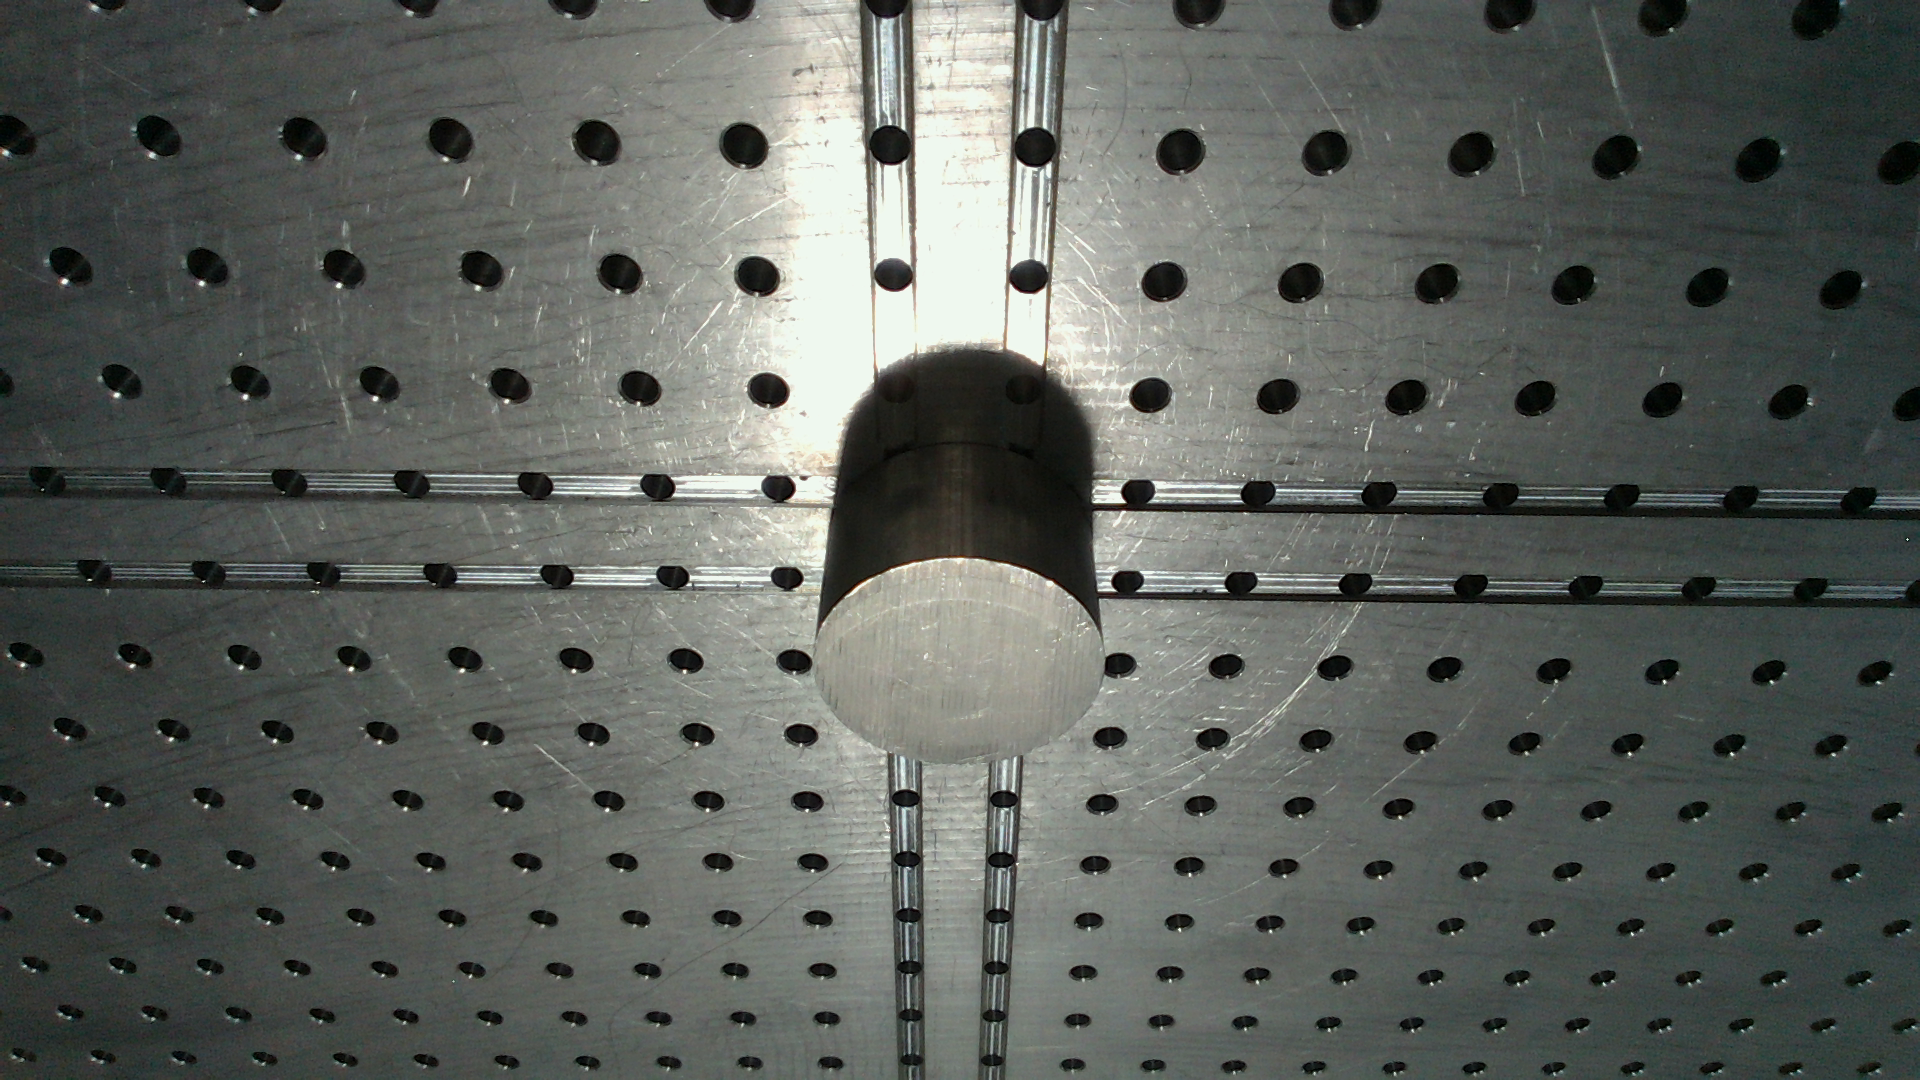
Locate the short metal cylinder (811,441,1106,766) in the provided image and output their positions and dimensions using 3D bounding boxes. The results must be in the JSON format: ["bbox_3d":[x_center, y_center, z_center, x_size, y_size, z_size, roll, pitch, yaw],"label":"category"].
[{"bbox_3d":[0.000,0.019,0.393,0.080,0.050,0.080,0,130,0],"label":"short metal cylinder"}]
